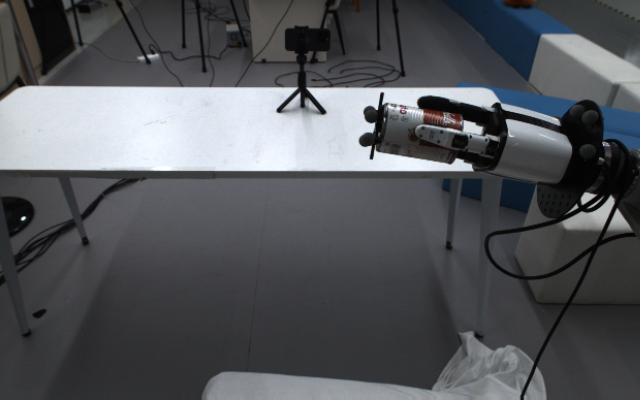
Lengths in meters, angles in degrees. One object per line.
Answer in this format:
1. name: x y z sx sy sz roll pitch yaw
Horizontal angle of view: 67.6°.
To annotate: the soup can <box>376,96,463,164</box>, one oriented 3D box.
1. soup can: 0.132 -0.090 0.647 0.101 0.067 0.067 9 35 0
